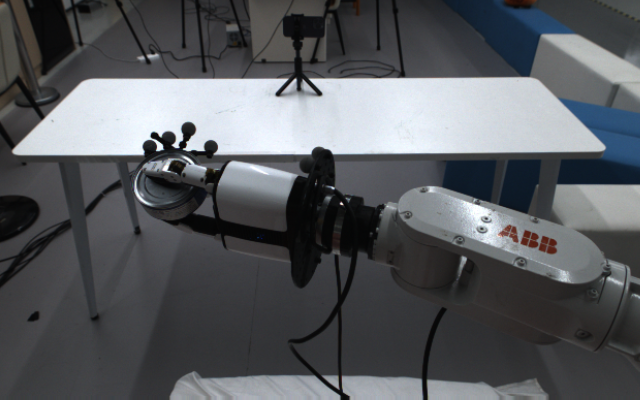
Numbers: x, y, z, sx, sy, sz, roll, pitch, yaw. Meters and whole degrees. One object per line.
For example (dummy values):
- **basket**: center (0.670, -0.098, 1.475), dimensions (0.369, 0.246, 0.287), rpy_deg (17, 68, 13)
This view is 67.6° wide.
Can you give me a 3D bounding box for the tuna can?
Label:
- **tuna can**: center (-0.178, -0.017, 0.590), dimensions (0.085, 0.034, 0.085), rpy_deg (-1, 57, 2)
